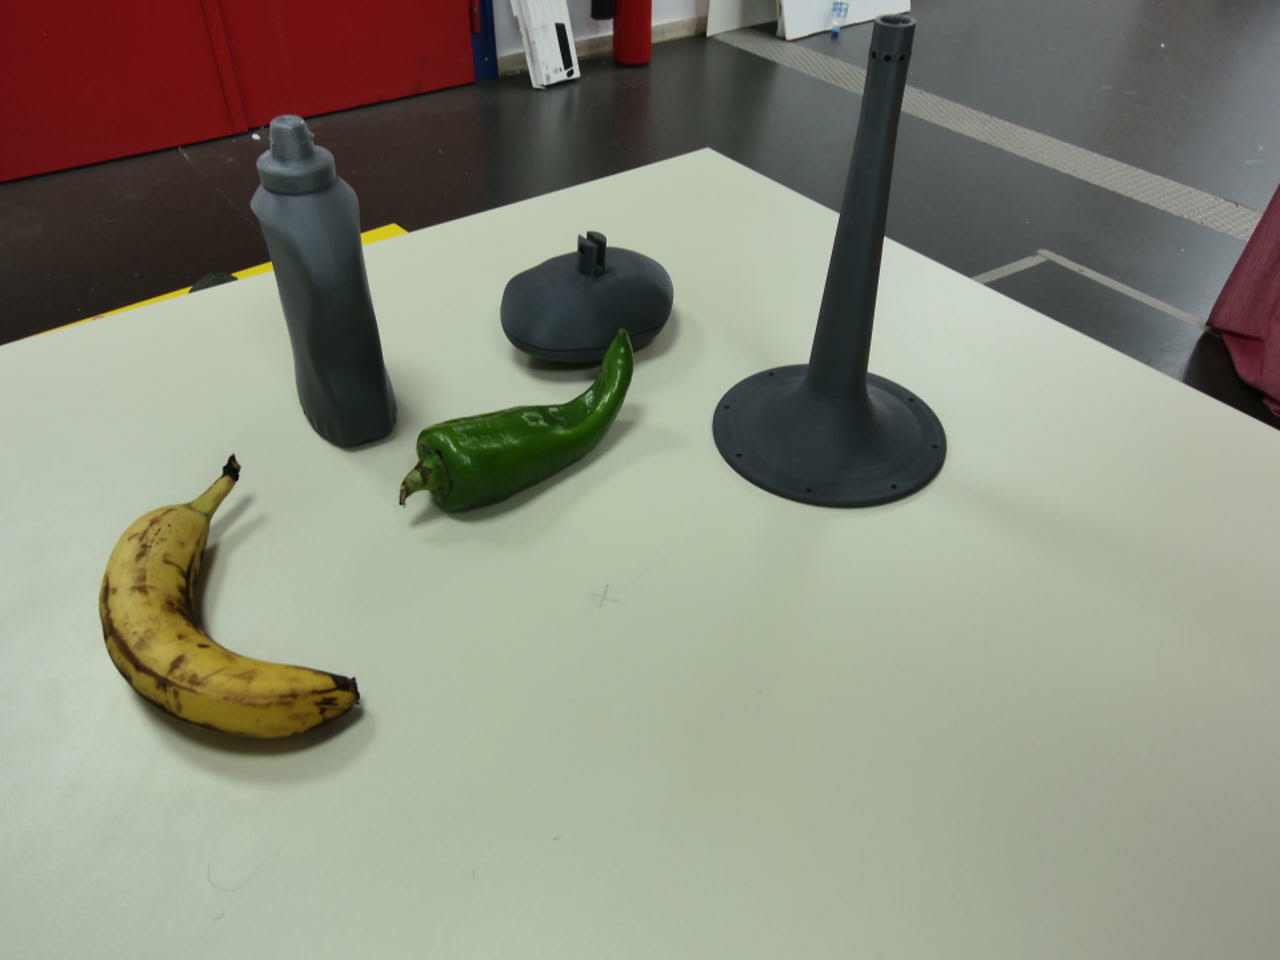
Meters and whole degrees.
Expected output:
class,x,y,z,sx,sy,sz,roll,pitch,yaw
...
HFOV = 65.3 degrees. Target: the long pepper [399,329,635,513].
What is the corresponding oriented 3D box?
class,x,y,z,sx,sy,sz,roll,pitch,yaw
long pepper,-0.068,-0.032,0.597,0.175,0.065,0.058,-26,46,-30
